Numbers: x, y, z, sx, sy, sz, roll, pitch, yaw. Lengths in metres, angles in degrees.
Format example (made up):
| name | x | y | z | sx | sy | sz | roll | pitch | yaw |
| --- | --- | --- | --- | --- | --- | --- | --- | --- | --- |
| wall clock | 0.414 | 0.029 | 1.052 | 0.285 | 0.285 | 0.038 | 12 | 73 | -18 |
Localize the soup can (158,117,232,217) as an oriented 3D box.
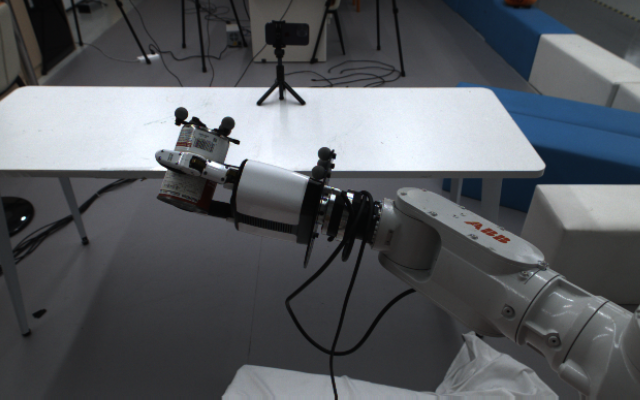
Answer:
| name | x | y | z | sx | sy | sz | roll | pitch | yaw |
| --- | --- | --- | --- | --- | --- | --- | --- | --- | --- |
| soup can | -0.165 | -0.038 | 0.638 | 0.067 | 0.067 | 0.101 | 13 | 79 | 15 |
